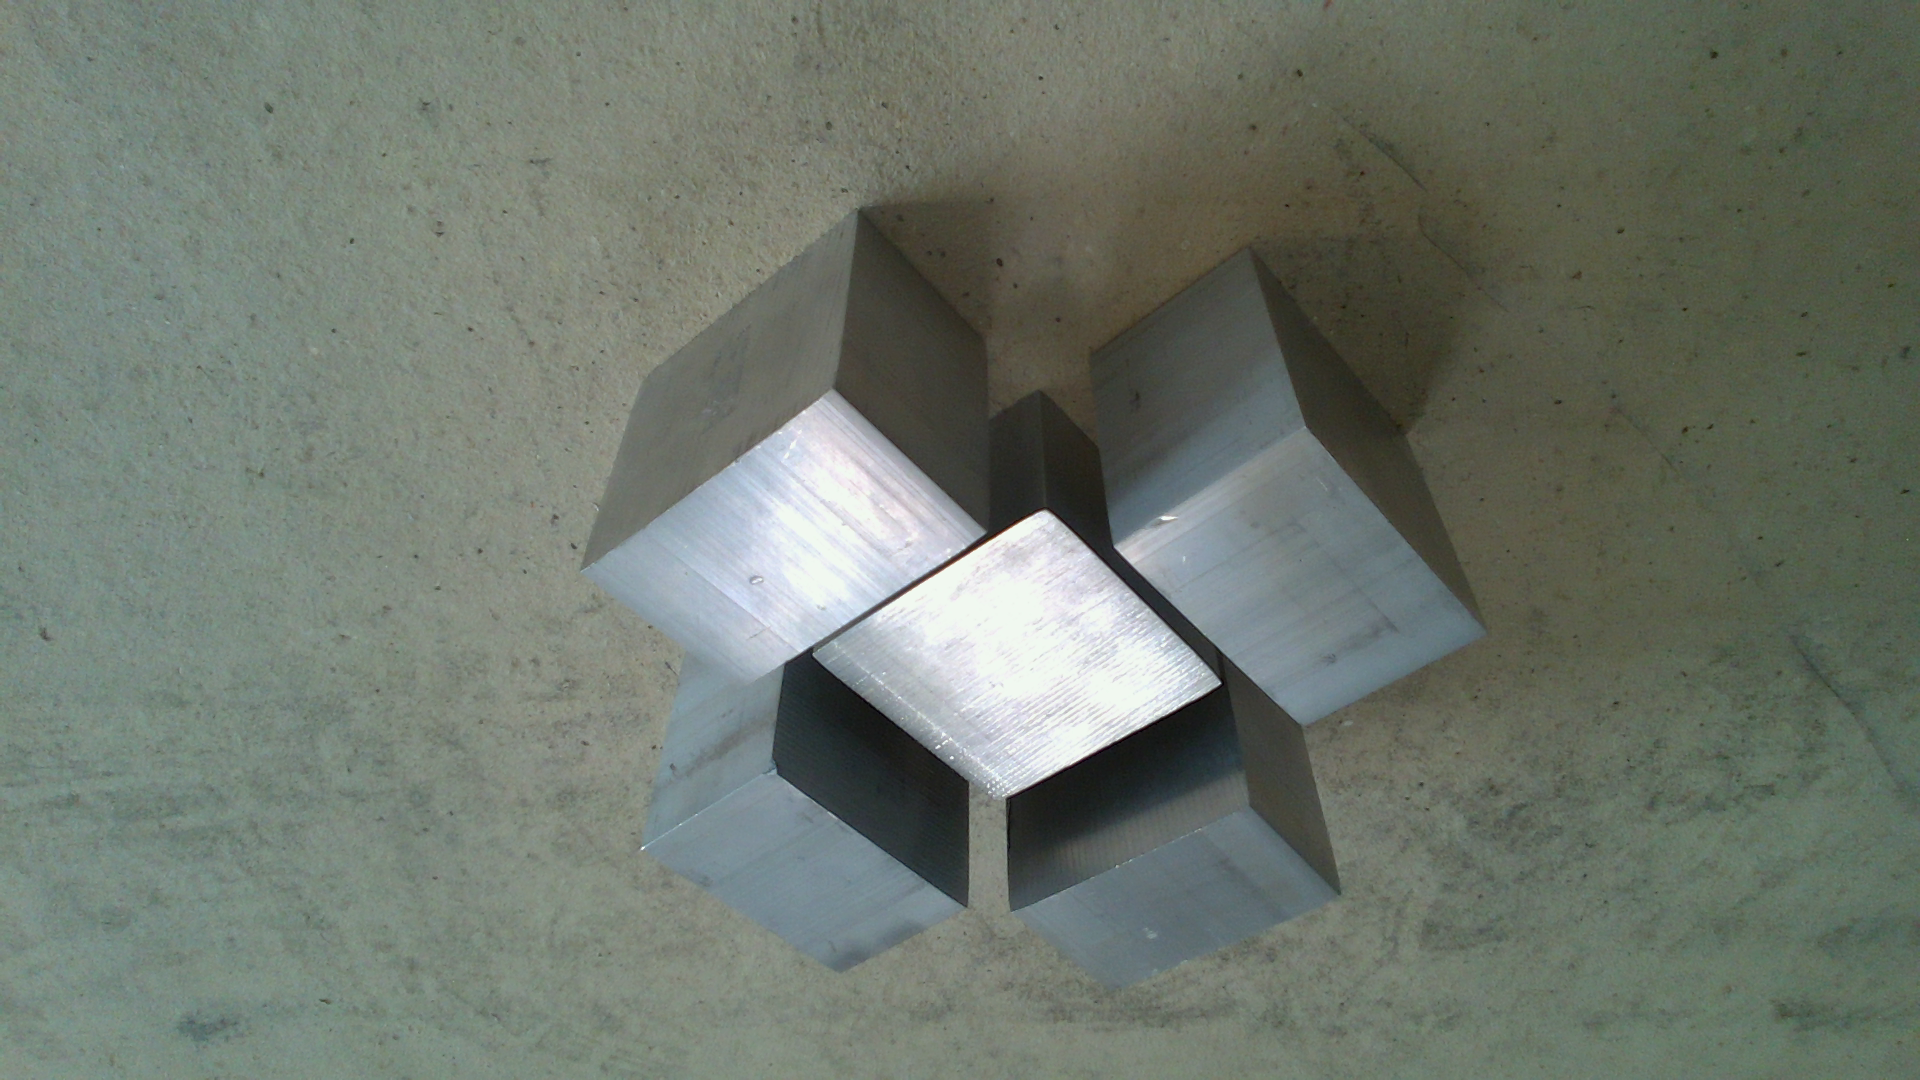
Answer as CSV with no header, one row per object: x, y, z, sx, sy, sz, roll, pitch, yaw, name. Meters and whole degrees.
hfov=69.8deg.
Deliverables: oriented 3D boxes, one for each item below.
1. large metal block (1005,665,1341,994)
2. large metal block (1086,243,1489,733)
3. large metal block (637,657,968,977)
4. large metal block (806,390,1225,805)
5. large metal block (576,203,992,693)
0.061,0.079,0.421,0.080,0.080,0.050,-31,123,23,large metal block
0.079,-0.013,0.344,0.050,0.080,0.080,-34,122,24,large metal block
-0.043,0.070,0.413,0.050,0.080,0.080,-33,123,24,large metal block
0.015,0.019,0.387,0.080,0.050,0.080,-32,123,24,large metal block
-0.040,-0.023,0.336,0.080,0.080,0.050,-32,123,24,large metal block
